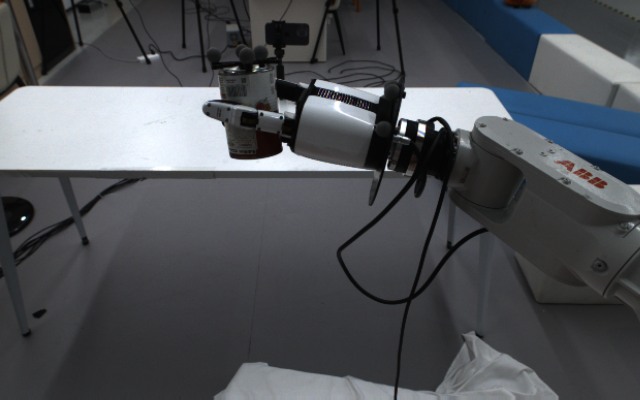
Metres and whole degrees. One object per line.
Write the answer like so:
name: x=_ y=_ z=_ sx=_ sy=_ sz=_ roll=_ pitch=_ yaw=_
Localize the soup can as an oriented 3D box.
soup can: x=-0.082 y=-0.106 z=0.580 sx=0.067 sy=0.101 sz=0.067 roll=-4 pitch=21 yaw=2
